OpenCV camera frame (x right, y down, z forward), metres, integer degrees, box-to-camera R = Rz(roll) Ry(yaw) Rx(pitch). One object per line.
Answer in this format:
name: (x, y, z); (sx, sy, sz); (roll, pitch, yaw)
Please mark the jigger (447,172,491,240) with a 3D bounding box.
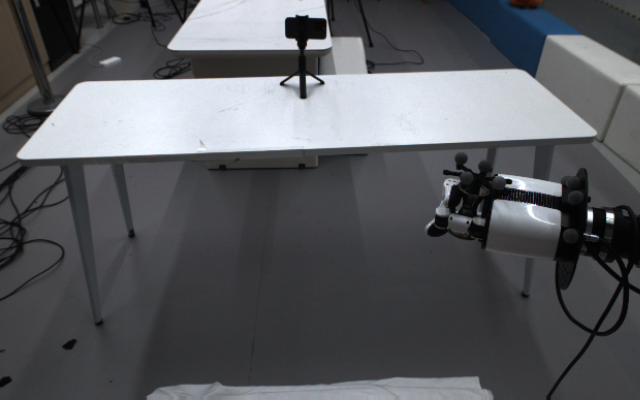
jigger: (0.205, 0.014, 0.665); (0.043, 0.071, 0.043); (6, 26, -3)
